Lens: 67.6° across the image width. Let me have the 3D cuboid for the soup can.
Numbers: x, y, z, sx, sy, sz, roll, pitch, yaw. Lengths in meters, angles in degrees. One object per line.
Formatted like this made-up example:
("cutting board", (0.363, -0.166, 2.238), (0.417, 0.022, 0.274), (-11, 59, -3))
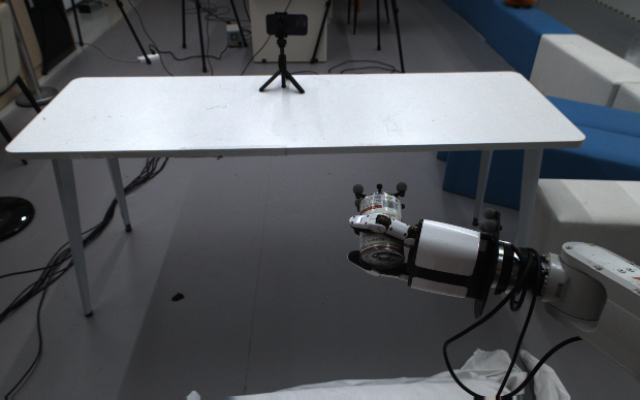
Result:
("soup can", (0.095, 0.047, 0.745), (0.067, 0.067, 0.101), (3, 57, 1))
